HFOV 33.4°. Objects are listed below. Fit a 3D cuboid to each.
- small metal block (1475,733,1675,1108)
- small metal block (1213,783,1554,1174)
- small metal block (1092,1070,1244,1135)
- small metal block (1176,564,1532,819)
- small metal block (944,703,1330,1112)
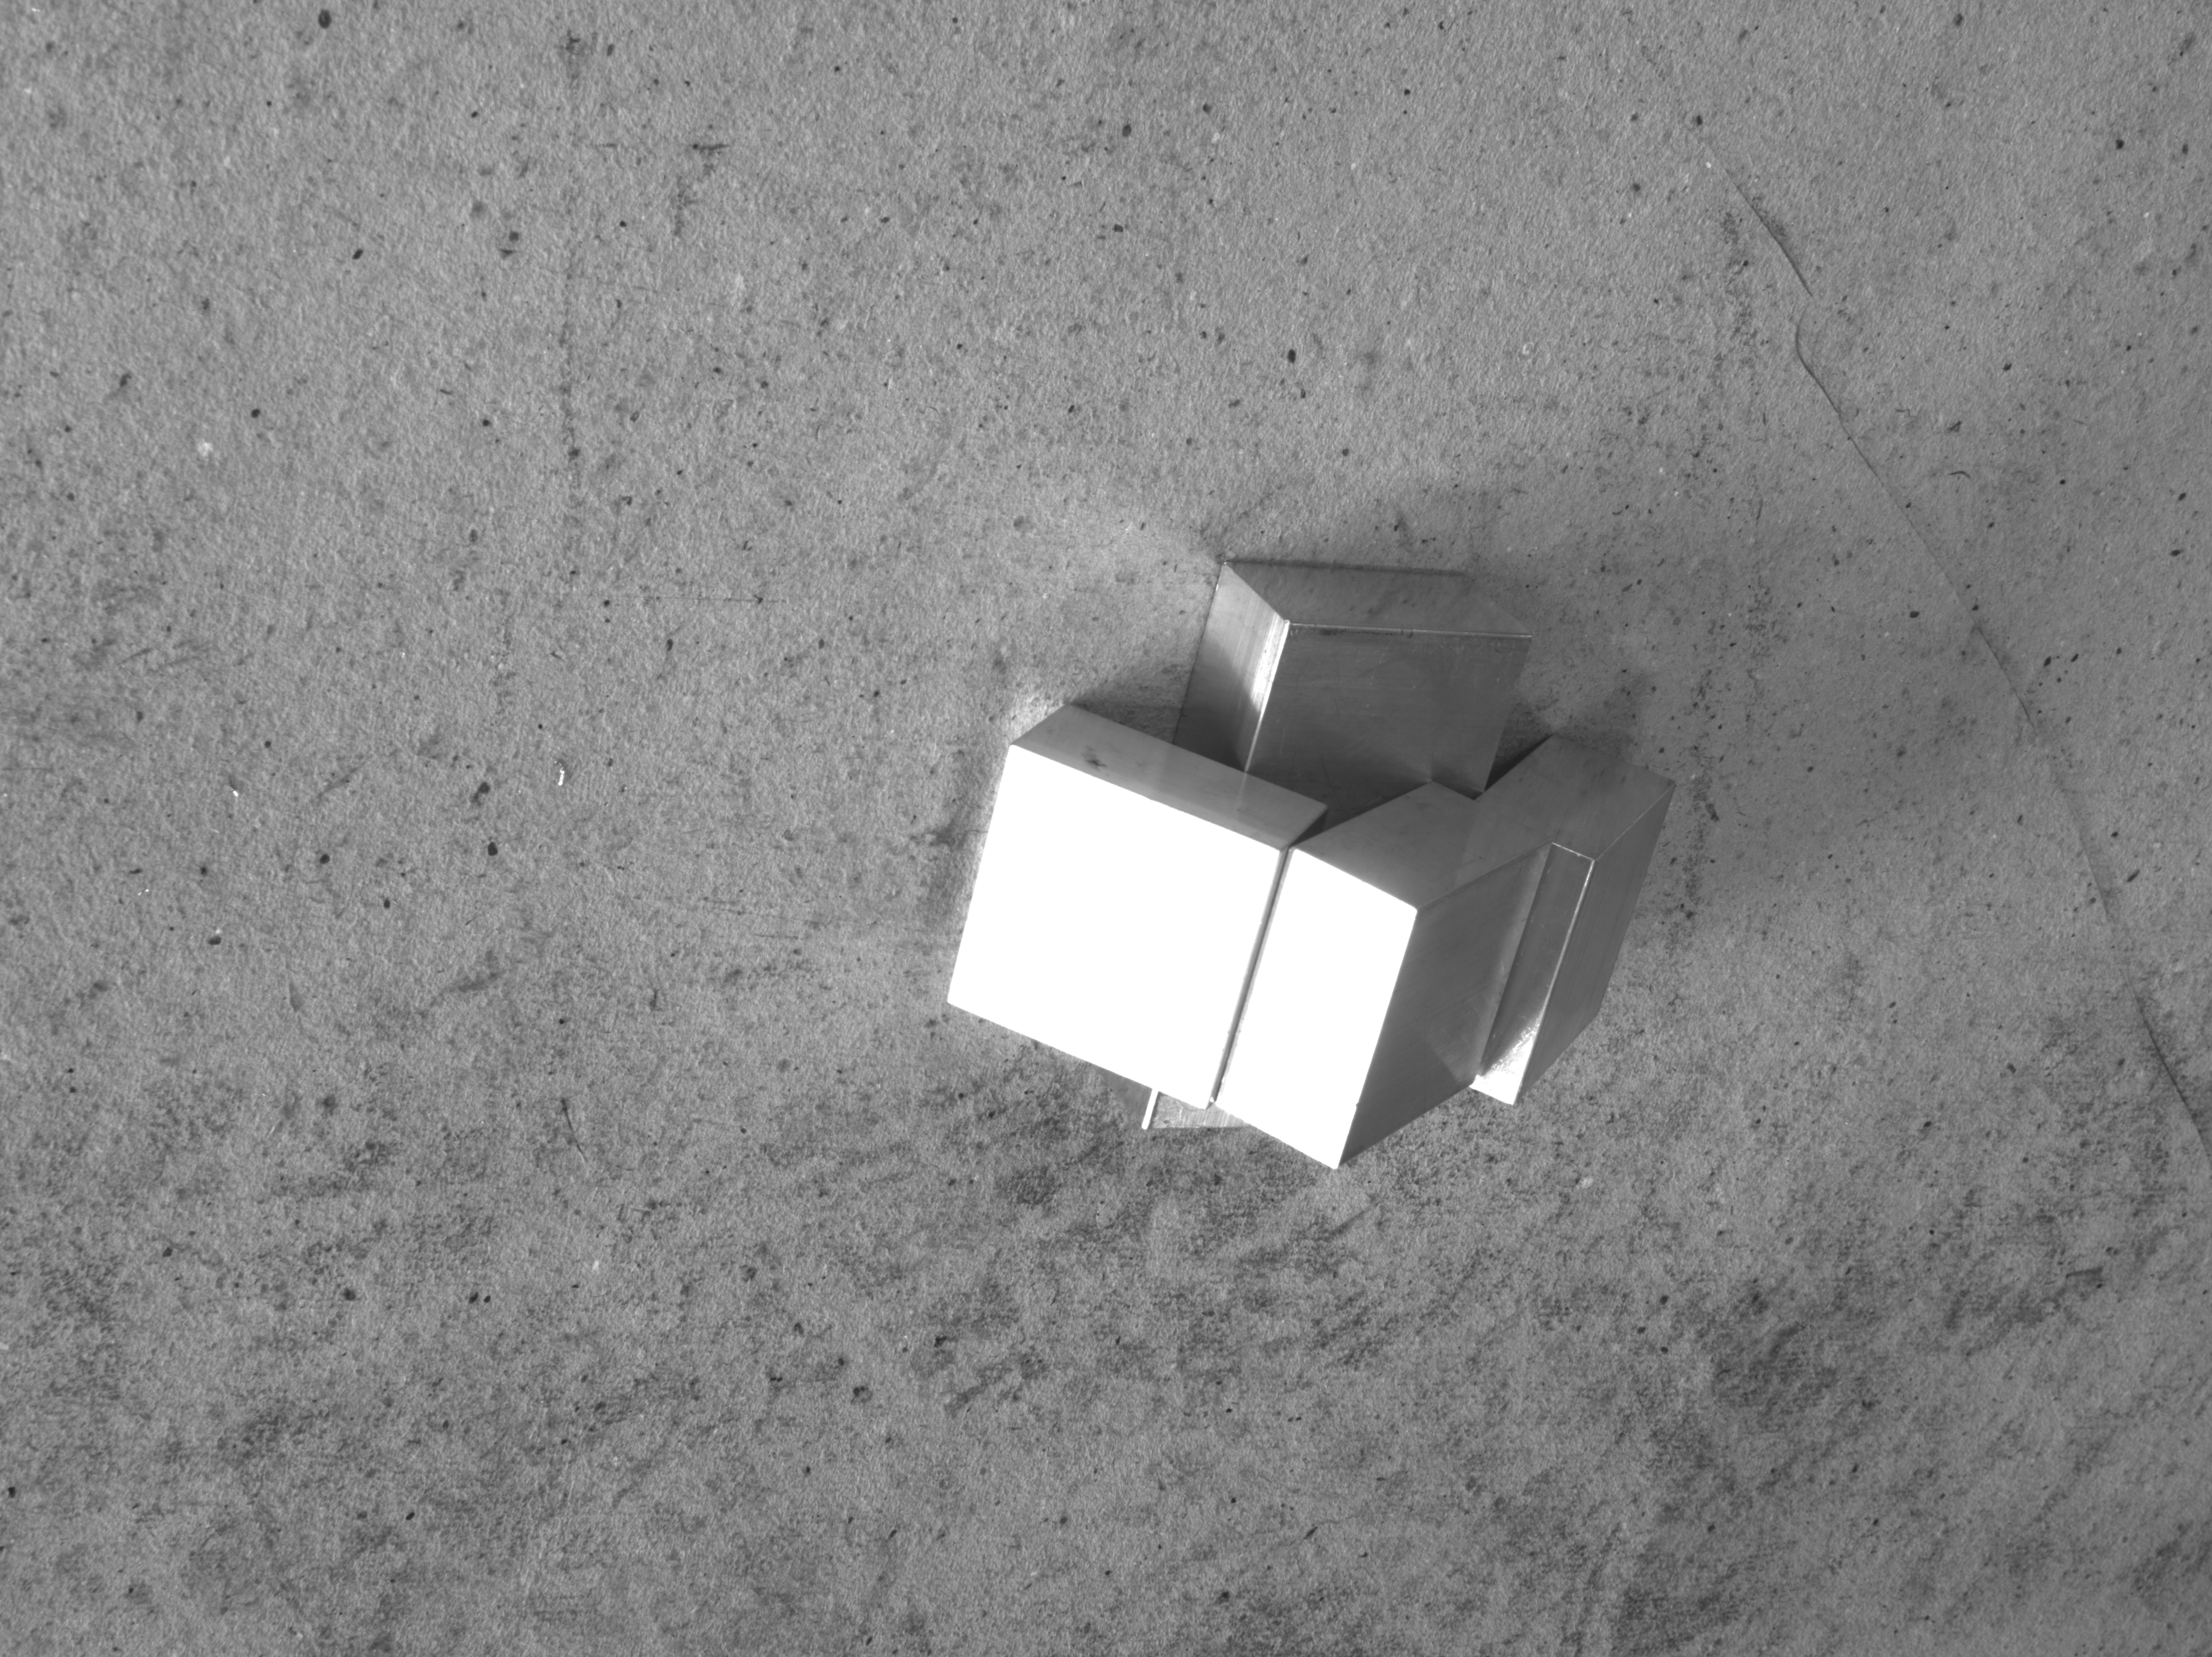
[{"bbox_3d":[0.078,0.016,0.673,0.050,0.025,0.050,-35,145,-60],"label":"small metal block"},{"bbox_3d":[0.048,0.025,0.632,0.050,0.025,0.050,-23,134,-54],"label":"small metal block"},{"bbox_3d":[0.029,0.027,0.669,0.050,0.025,0.050,1,118,-29],"label":"small metal block"},{"bbox_3d":[0.041,-0.017,0.649,0.050,0.025,0.050,1,118,-29],"label":"small metal block"},{"bbox_3d":[0.005,0.013,0.631,0.025,0.050,0.050,-39,148,-61],"label":"small metal block"}]
